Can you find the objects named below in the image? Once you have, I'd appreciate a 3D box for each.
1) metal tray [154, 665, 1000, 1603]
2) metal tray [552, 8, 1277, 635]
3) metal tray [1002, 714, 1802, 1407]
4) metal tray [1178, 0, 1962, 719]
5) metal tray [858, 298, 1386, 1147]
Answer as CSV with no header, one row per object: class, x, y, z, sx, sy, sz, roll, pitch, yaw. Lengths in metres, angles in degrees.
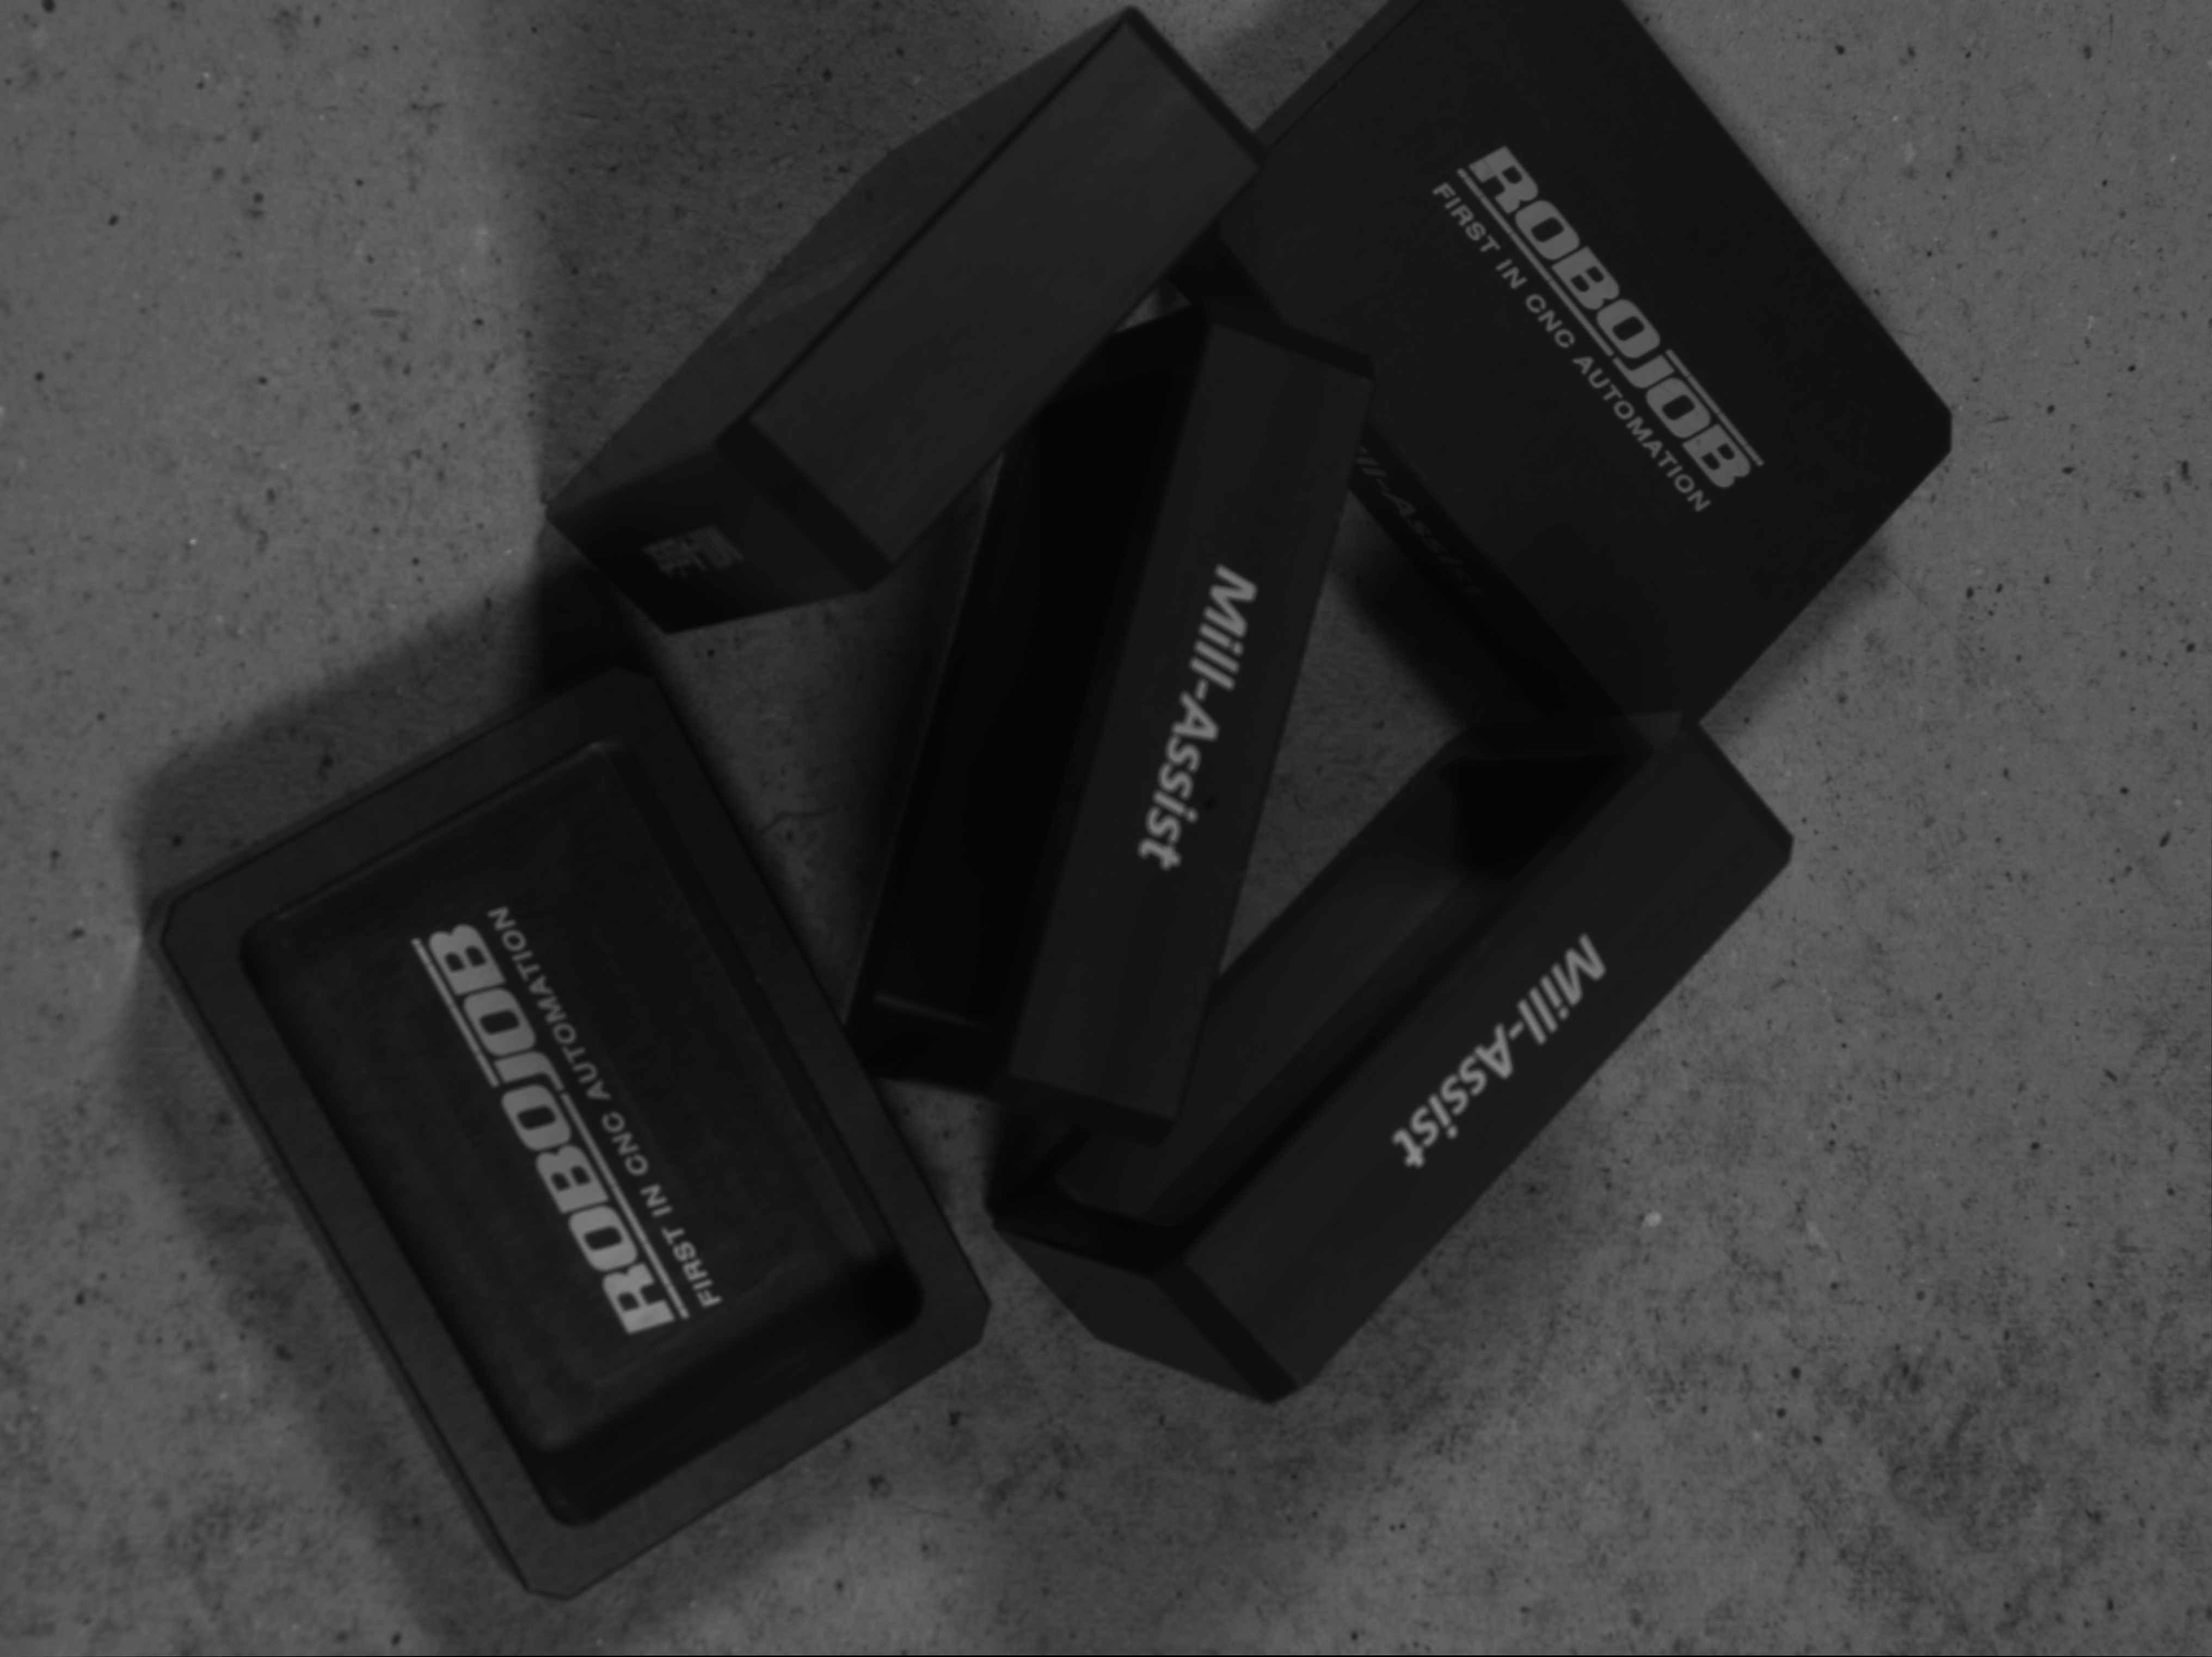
metal tray,-0.087,0.050,0.609,0.090,0.030,0.130,-30,100,-17
metal tray,-0.034,-0.075,0.575,0.030,0.130,0.090,45,76,-14
metal tray,0.049,0.036,0.626,0.130,0.090,0.030,-45,104,-14
metal tray,0.085,-0.090,0.672,0.090,0.030,0.130,-46,104,-14
metal tray,0.000,-0.017,0.609,0.030,0.090,0.130,17,84,-19
